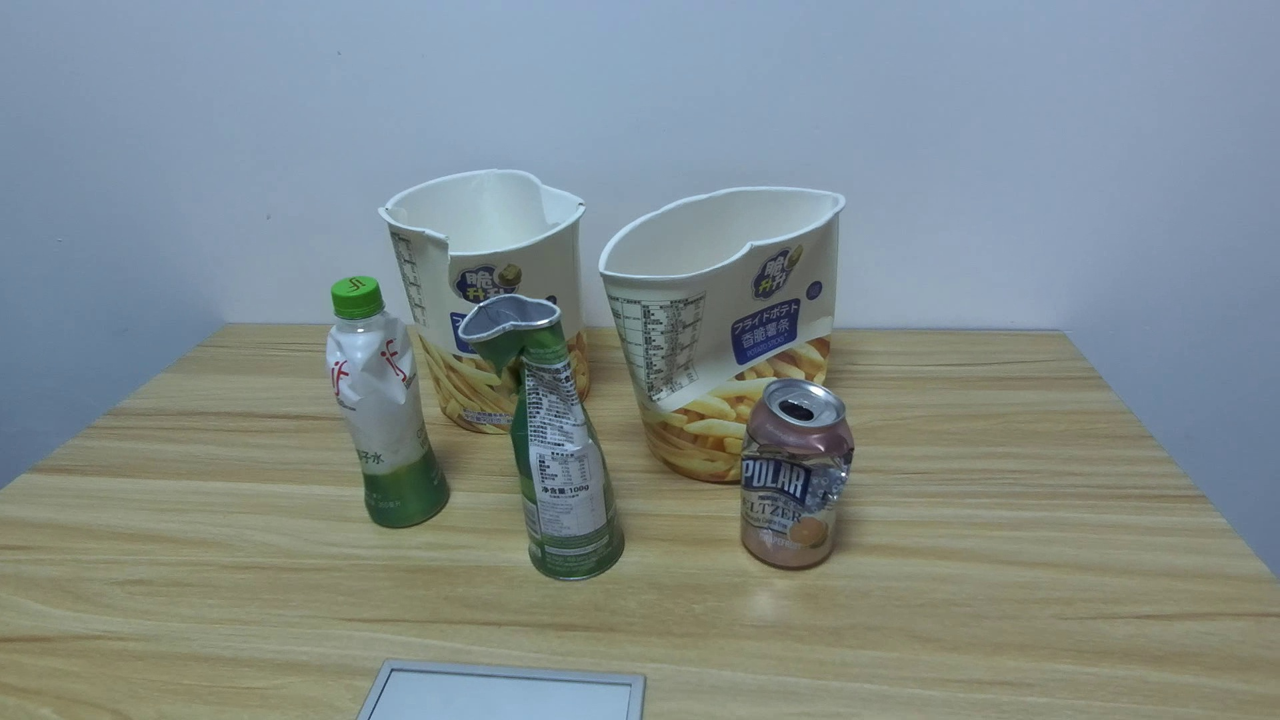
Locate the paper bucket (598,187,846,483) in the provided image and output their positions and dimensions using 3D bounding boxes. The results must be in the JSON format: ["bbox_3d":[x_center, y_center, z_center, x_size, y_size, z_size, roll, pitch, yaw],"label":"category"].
[{"bbox_3d":[0.075,-0.022,0.568,0.147,0.199,0.218,8,32,19],"label":"paper bucket"}]

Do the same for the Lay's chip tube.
[{"bbox_3d":[-0.061,0.051,0.463,0.071,0.200,0.079,-12,28,1],"label":"Lay's chip tube"}]

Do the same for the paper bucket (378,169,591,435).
[{"bbox_3d":[-0.126,-0.053,0.648,0.146,0.197,0.201,-27,37,-31],"label":"paper bucket"}]

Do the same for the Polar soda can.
[{"bbox_3d":[0.108,0.078,0.478,0.070,0.122,0.067,17,31,29],"label":"Polar soda can"}]

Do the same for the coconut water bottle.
[{"bbox_3d":[-0.187,0.032,0.516,0.067,0.187,0.067,-2,28,1],"label":"coconut water bottle"}]
